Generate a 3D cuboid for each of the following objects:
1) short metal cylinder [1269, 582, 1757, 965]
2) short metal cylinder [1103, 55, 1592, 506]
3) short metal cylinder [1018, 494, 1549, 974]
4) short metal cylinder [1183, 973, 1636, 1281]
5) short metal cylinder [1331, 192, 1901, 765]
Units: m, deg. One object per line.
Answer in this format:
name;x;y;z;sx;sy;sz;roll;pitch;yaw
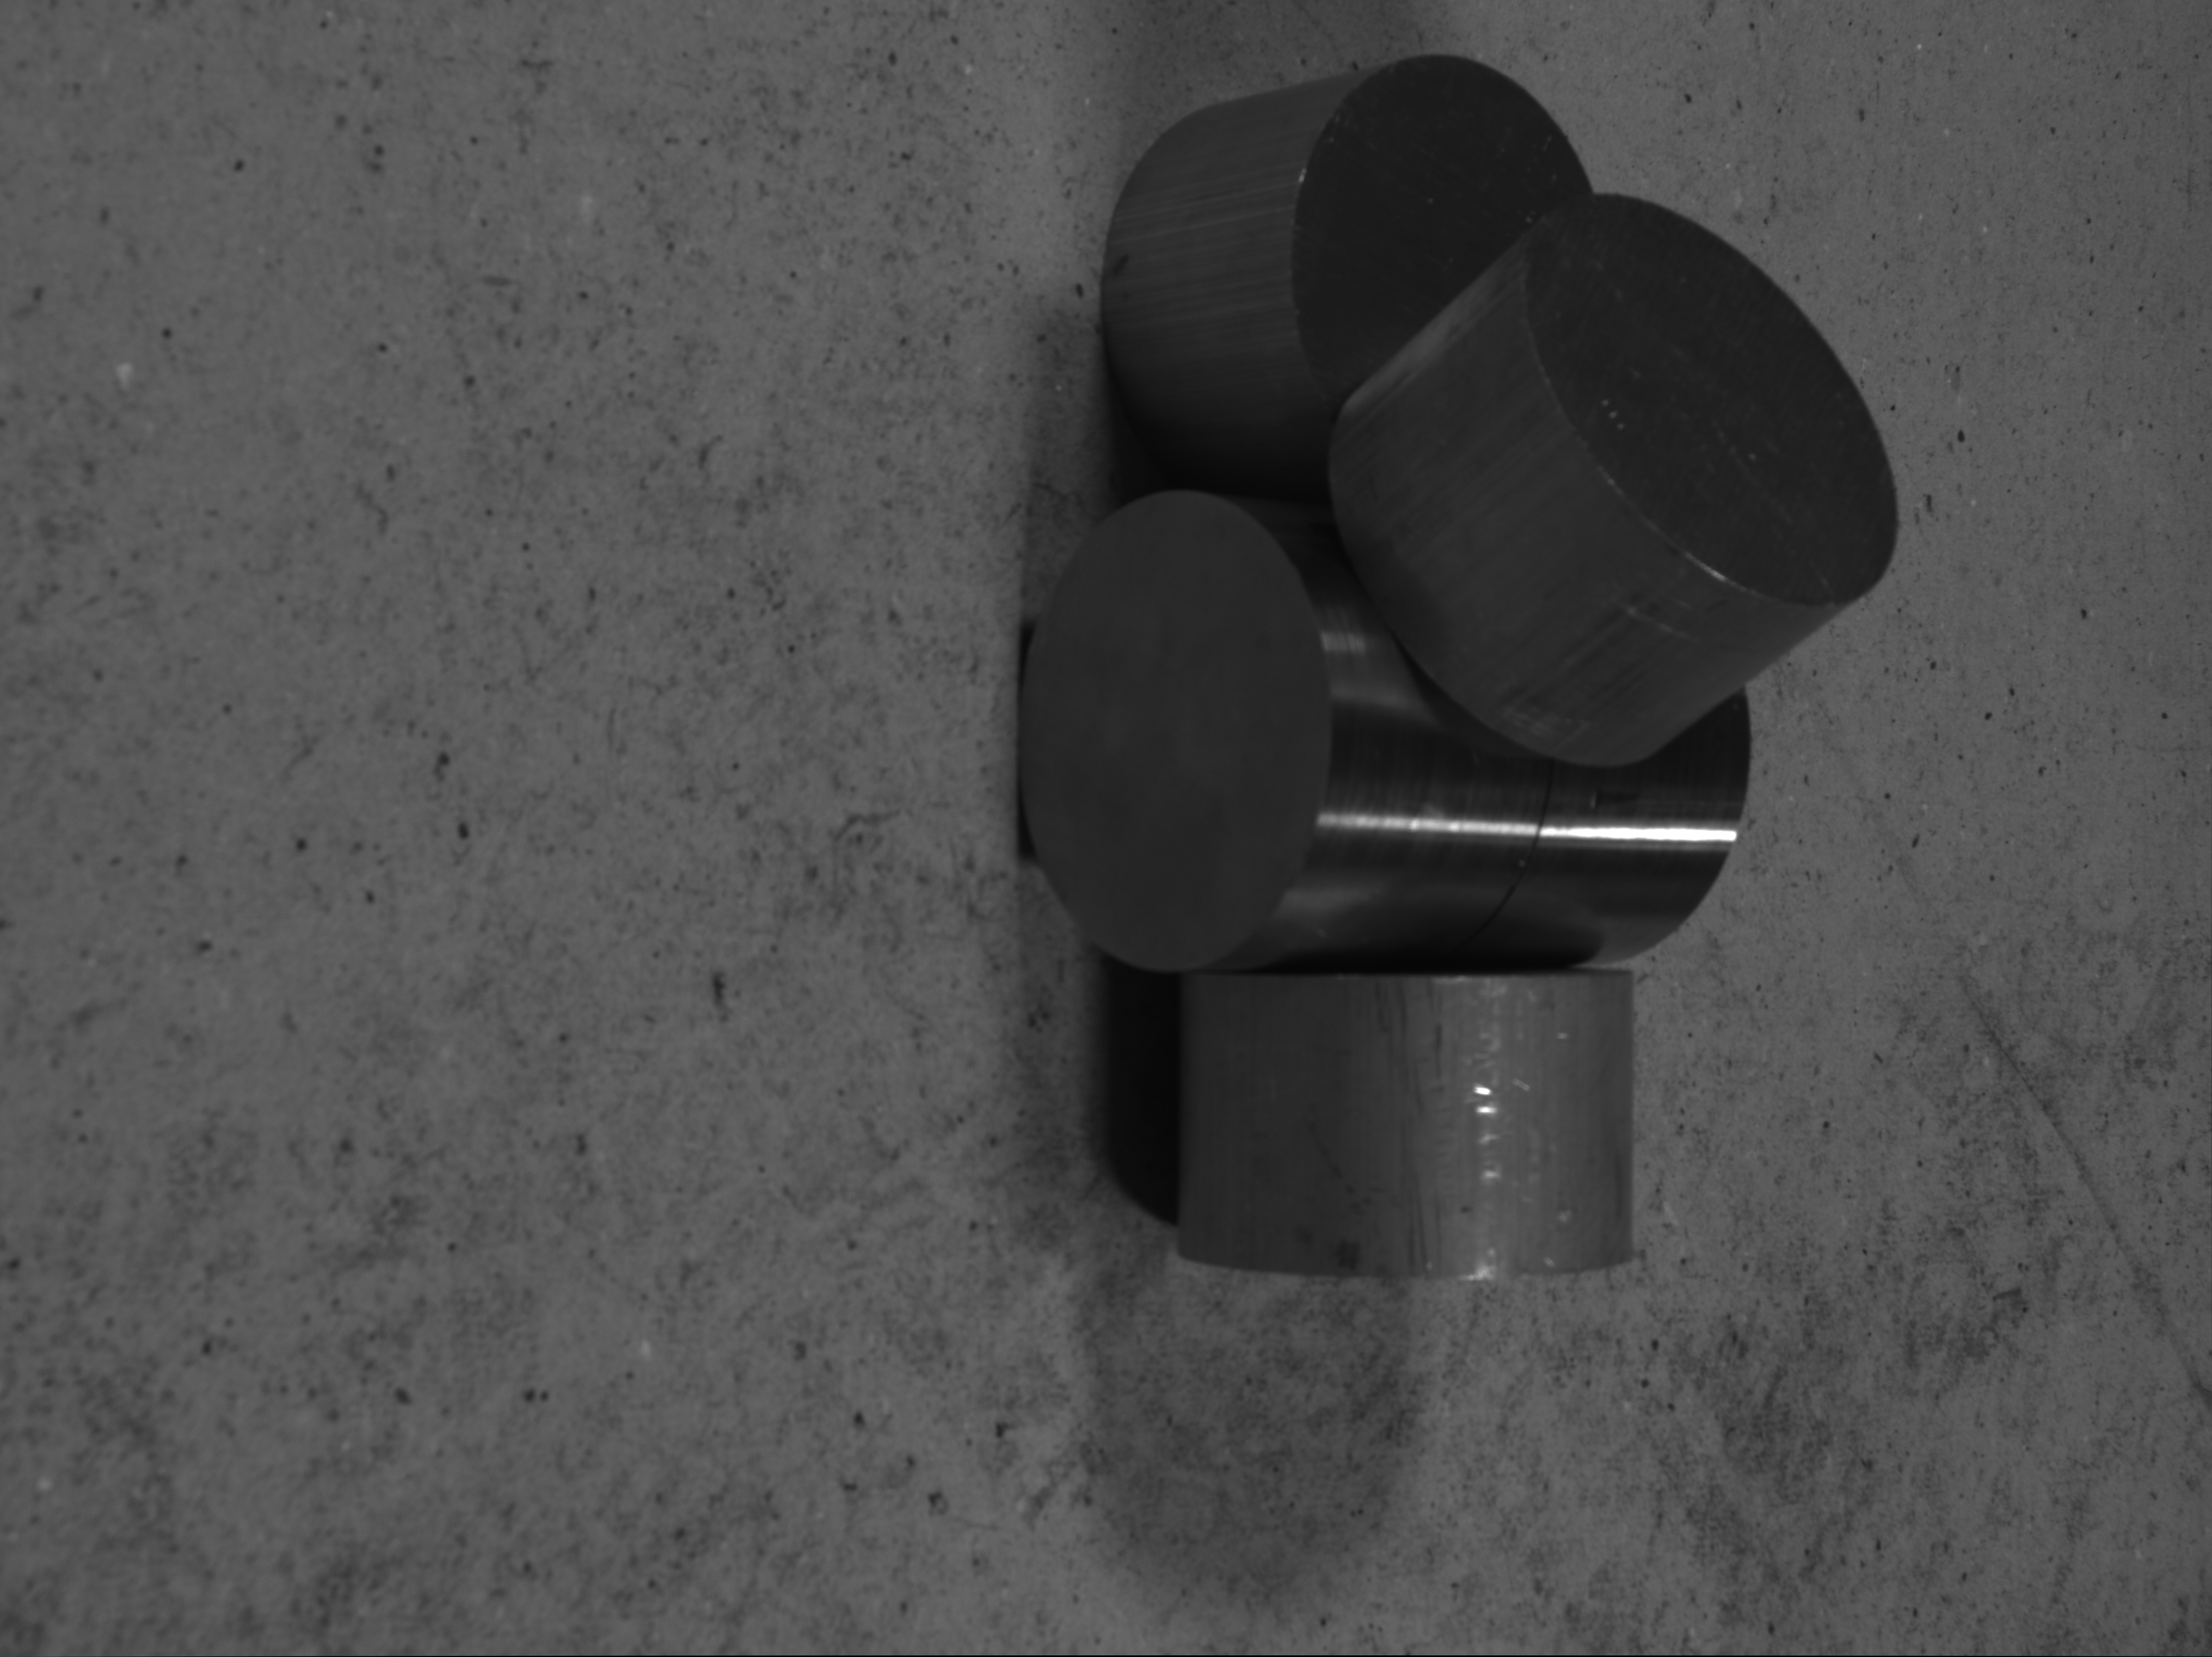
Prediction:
short metal cylinder;0.070;-0.015;0.660;0.050;0.080;0.080;0;90;-39
short metal cylinder;0.046;-0.095;0.661;0.080;0.050;0.080;0;90;-40
short metal cylinder;0.029;-0.015;0.627;0.050;0.080;0.080;1;89;-40
short metal cylinder;0.053;0.050;0.647;0.080;0.080;0.050;0;89;-40
short metal cylinder;0.084;-0.058;0.606;0.080;0.050;0.080;22;49;-27
